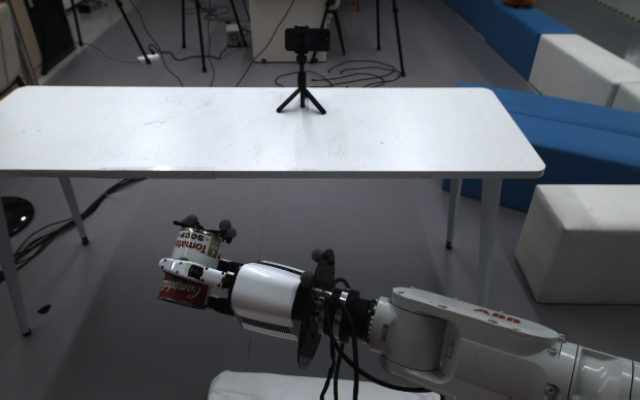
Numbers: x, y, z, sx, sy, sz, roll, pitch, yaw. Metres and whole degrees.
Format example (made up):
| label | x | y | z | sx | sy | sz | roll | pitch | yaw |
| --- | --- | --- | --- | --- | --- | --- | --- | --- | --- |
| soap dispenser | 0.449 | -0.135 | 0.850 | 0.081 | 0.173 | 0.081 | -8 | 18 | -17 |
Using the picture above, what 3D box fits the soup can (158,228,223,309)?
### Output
| label | x | y | z | sx | sy | sz | roll | pitch | yaw |
| --- | --- | --- | --- | --- | --- | --- | --- | --- | --- |
| soup can | -0.179 | 0.098 | 0.681 | 0.067 | 0.067 | 0.101 | 9 | 72 | 10 |
